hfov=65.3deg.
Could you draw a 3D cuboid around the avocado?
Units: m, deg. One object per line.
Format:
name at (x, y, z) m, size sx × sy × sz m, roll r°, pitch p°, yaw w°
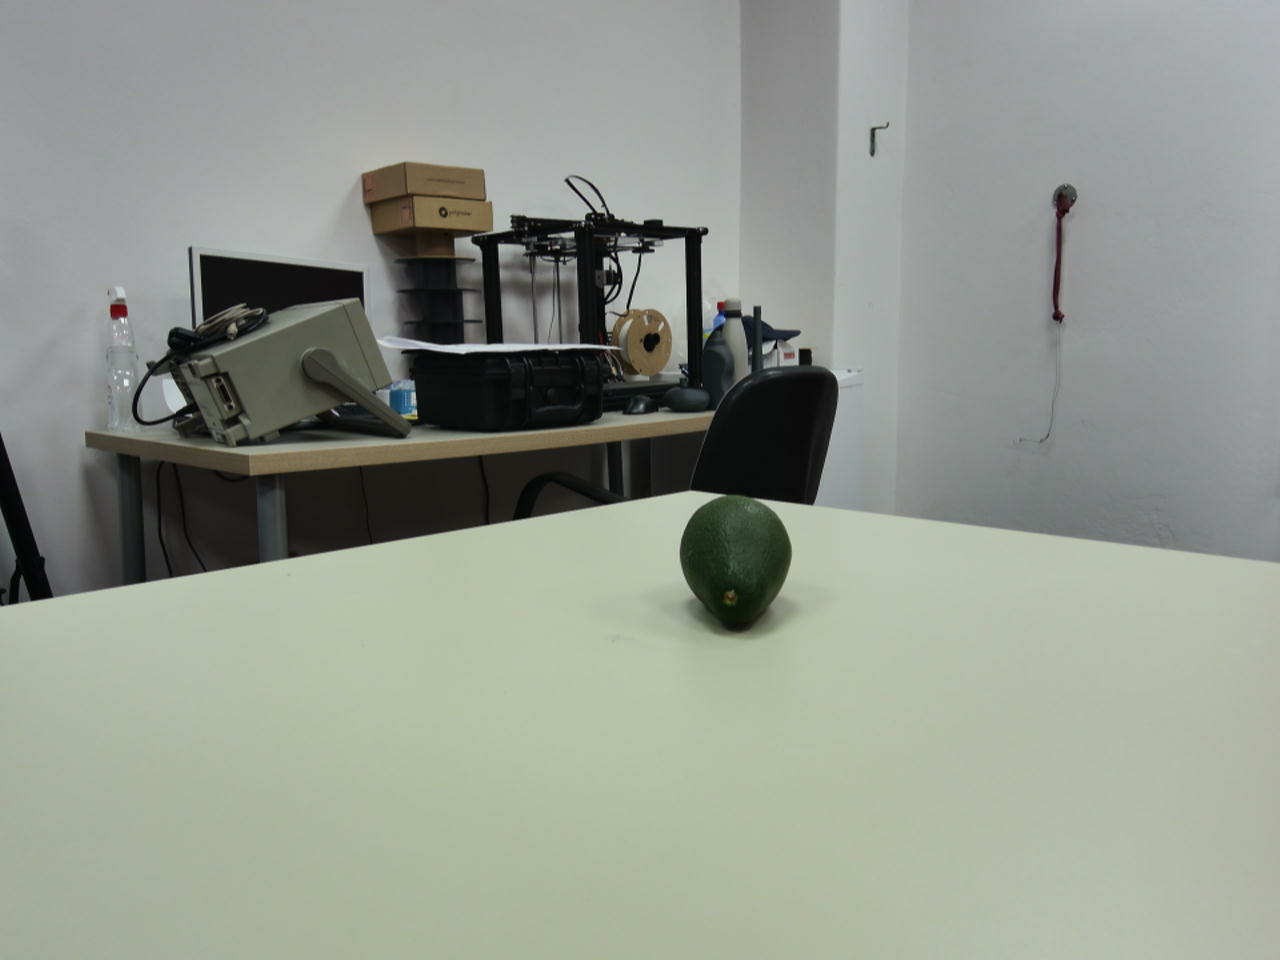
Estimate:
avocado at (0.055, 0.048, 0.620) m, size 0.073 × 0.071 × 0.109 m, roll 2°, pitch 7°, yaw 24°
